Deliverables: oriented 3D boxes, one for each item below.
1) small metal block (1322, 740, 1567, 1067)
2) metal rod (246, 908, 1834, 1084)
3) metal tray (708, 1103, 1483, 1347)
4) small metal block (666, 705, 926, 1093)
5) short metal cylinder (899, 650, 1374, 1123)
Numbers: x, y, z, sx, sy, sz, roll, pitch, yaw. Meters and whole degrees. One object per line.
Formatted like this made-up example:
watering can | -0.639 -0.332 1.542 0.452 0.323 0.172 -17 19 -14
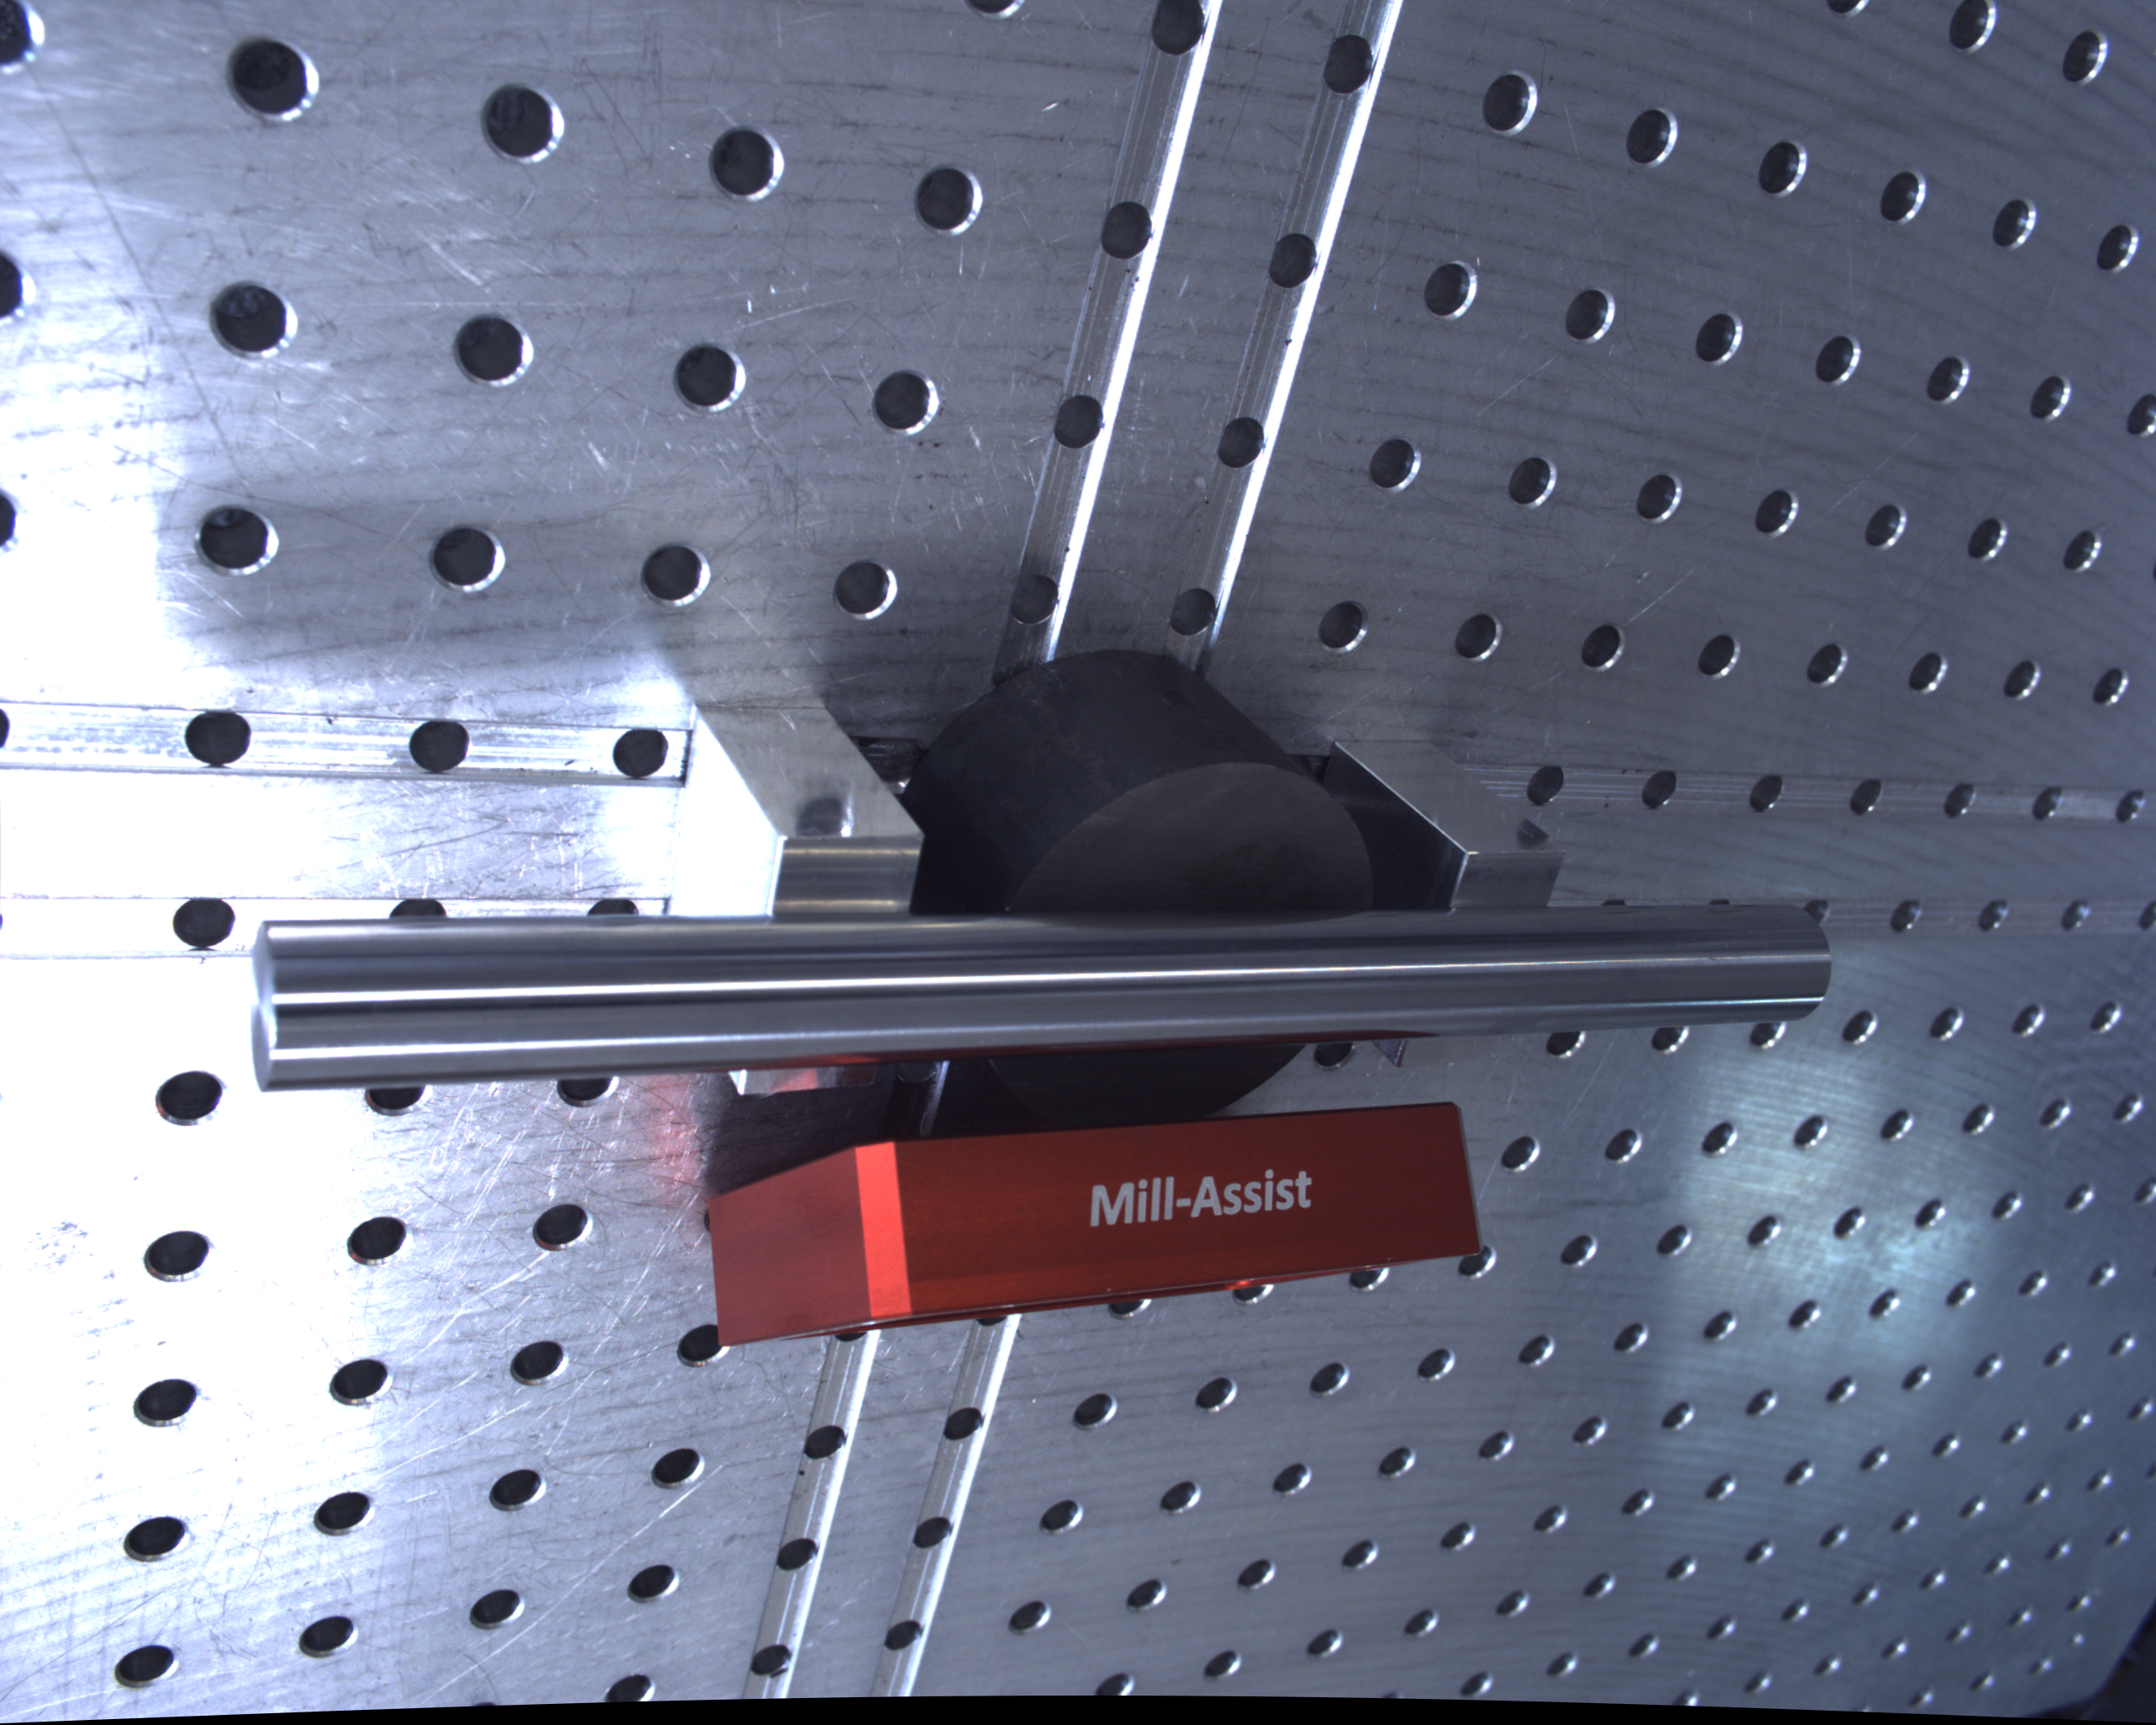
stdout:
small metal block | 0.070 0.008 0.438 0.025 0.050 0.050 -1 119 -28
metal rod | 0.016 0.020 0.368 0.303 0.025 0.025 1 118 -28
metal tray | 0.002 0.073 0.418 0.131 0.090 0.030 0 75 -29
small metal block | -0.052 0.005 0.370 0.025 0.050 0.050 -1 119 -28
short metal cylinder | 0.009 0.005 0.403 0.081 0.050 0.079 -14 124 -21
